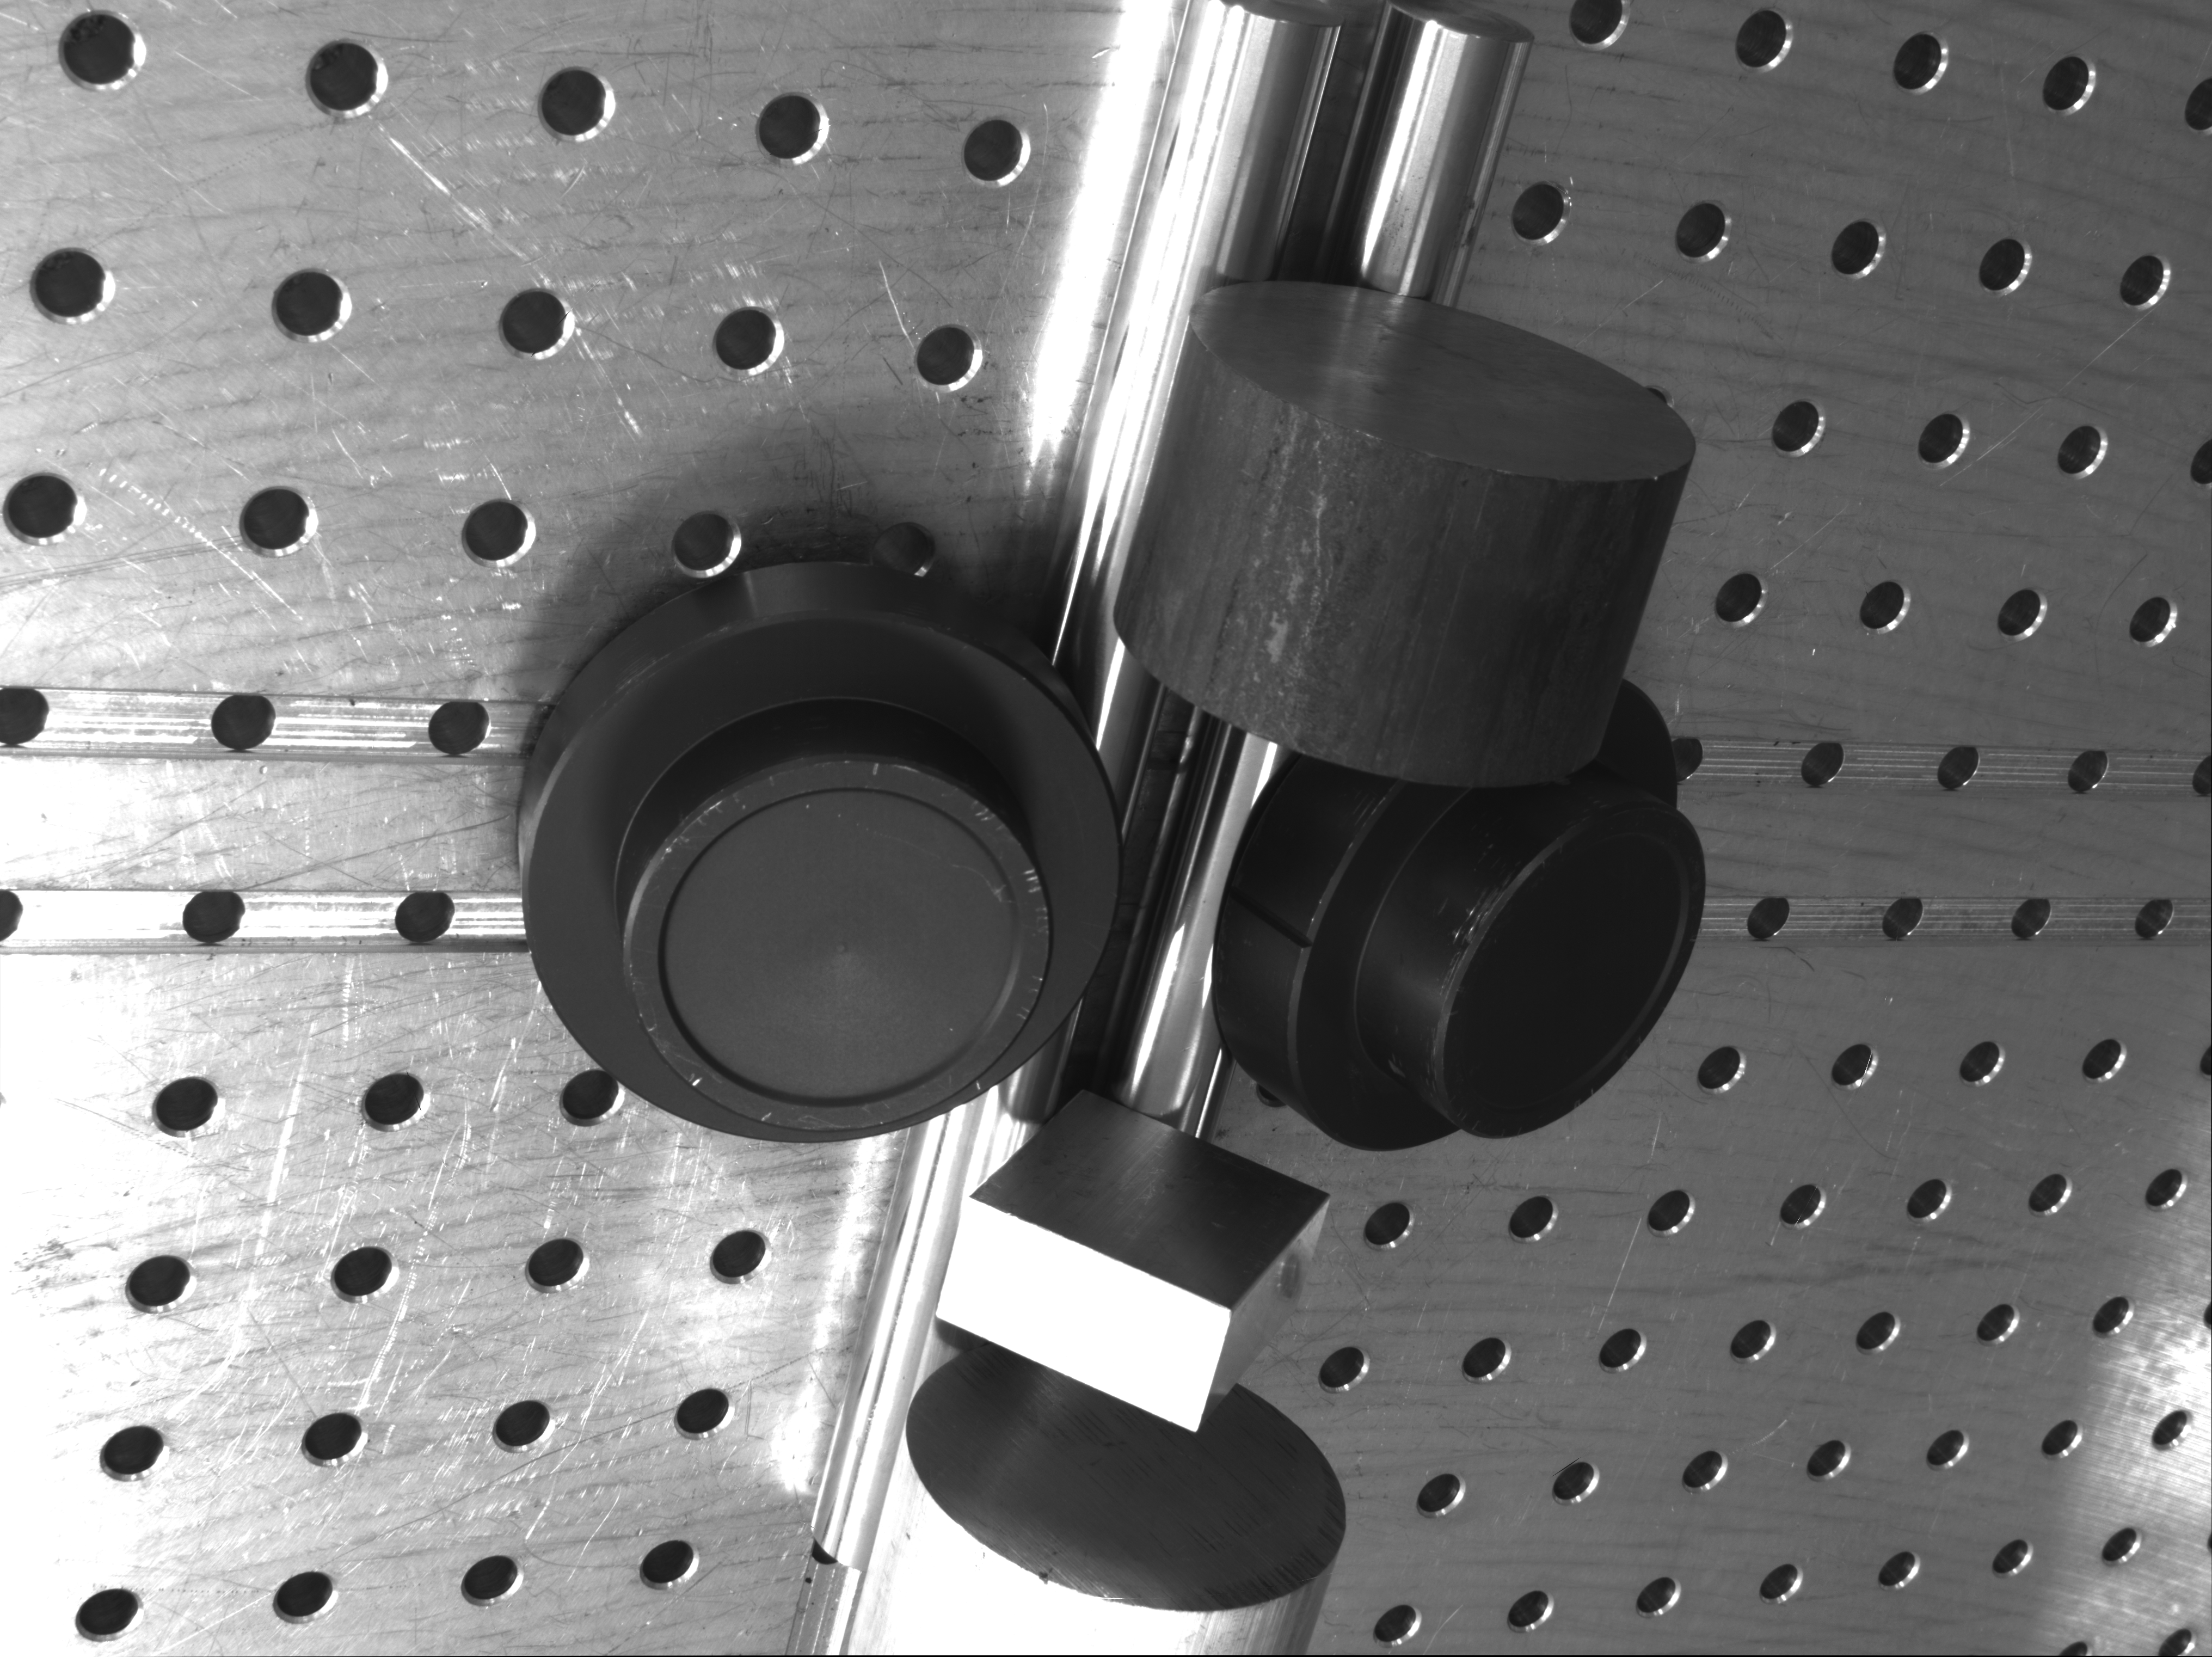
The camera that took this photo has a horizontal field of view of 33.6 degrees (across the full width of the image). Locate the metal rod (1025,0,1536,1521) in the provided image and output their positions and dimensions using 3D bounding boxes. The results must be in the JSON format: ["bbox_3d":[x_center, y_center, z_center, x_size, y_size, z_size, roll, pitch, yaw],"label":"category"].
[{"bbox_3d":[0.022,0.002,0.652,0.025,0.025,0.300,1,118,-28],"label":"metal rod"}]

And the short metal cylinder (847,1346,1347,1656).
[{"bbox_3d":[-0.002,0.135,0.658,0.080,0.080,0.050,1,118,-28],"label":"short metal cylinder"}]

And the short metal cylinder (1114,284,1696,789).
[{"bbox_3d":[0.046,-0.047,0.573,0.080,0.080,0.050,1,118,-28],"label":"short metal cylinder"}]

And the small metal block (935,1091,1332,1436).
[{"bbox_3d":[0.005,0.075,0.643,0.050,0.050,0.025,-38,147,-61],"label":"small metal block"}]

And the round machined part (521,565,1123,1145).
[{"bbox_3d":[-0.045,0.010,0.595,0.098,0.042,0.098,-5,118,-10],"label":"round machined part"}]

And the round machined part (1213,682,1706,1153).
[{"bbox_3d":[0.070,0.017,0.660,0.098,0.042,0.098,-26,133,-30],"label":"round machined part"}]

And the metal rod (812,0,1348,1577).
[{"bbox_3d":[-0.009,0.003,0.636,0.025,0.025,0.300,1,118,-28],"label":"metal rod"}]
